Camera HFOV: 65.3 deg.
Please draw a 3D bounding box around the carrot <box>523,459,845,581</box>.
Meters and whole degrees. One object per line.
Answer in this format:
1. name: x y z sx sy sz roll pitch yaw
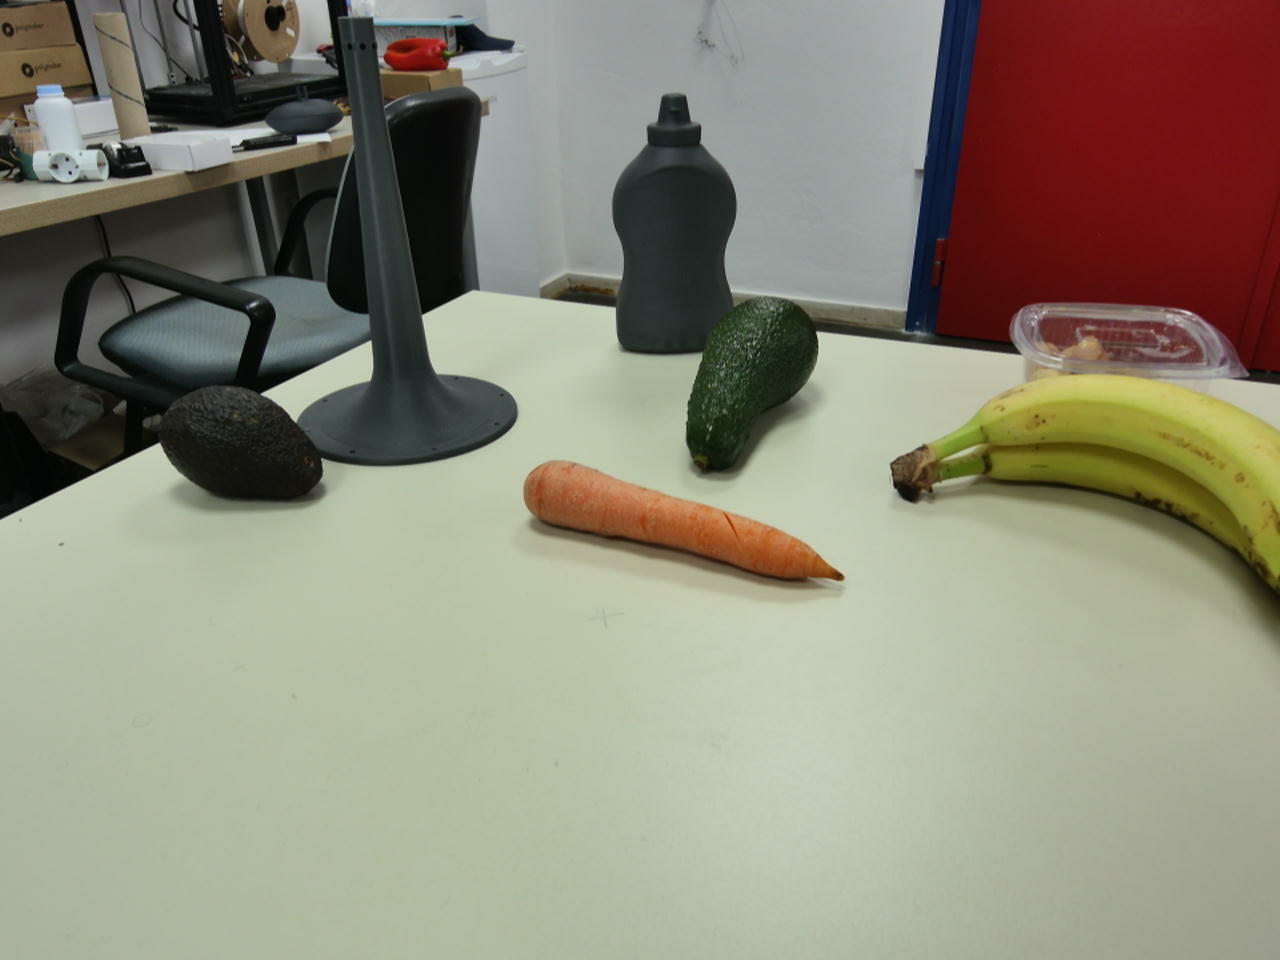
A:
1. carrot: 0.022 0.022 0.569 0.196 0.041 0.039 11 27 22
